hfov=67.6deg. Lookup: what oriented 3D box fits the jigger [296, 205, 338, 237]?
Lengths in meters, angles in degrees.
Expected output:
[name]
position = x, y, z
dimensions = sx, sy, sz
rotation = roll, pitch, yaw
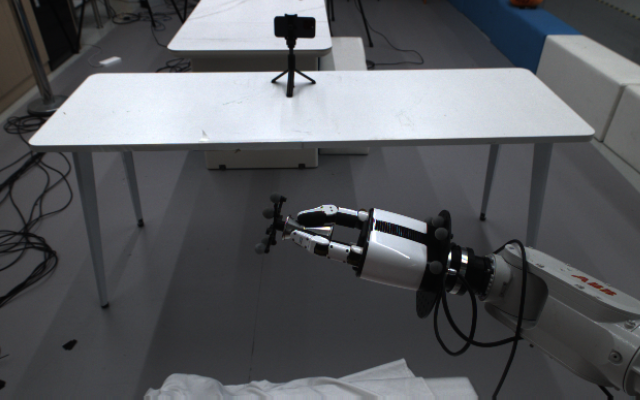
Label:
[jigger]
position = -0.011, 0.046, 0.707
dimensions = 0.071, 0.043, 0.043
rotation = 14, 36, 4
